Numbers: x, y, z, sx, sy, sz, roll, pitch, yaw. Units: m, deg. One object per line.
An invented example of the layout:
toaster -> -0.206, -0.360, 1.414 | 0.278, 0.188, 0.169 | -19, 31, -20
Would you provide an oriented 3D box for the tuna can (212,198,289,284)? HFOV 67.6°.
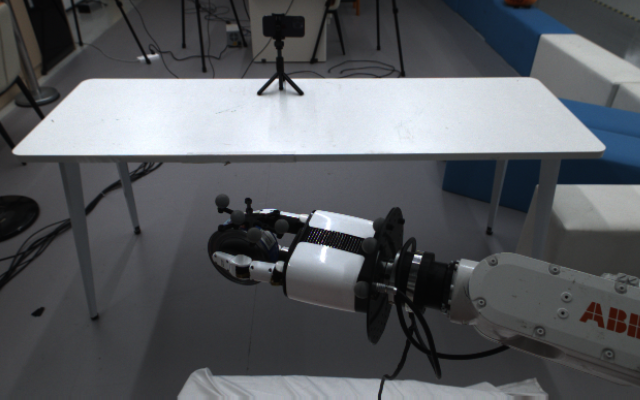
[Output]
tuna can -> -0.094, 0.064, 0.612 | 0.085, 0.085, 0.034 | 12, 30, 15
